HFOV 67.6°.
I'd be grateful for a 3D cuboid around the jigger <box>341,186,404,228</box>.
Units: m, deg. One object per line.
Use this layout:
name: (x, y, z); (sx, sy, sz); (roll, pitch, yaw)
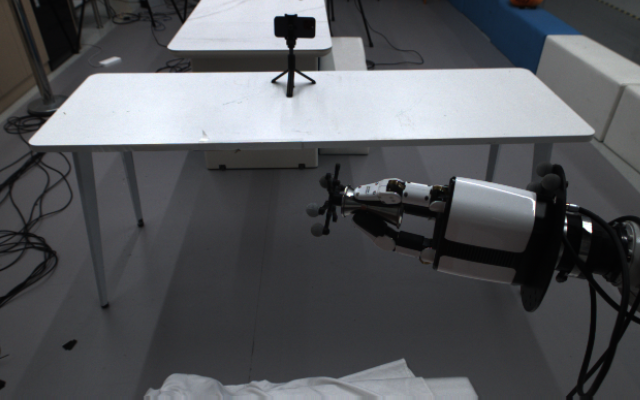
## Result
jigger: (0.069, 0.002, 0.567); (0.071, 0.043, 0.043); (9, 35, 16)
